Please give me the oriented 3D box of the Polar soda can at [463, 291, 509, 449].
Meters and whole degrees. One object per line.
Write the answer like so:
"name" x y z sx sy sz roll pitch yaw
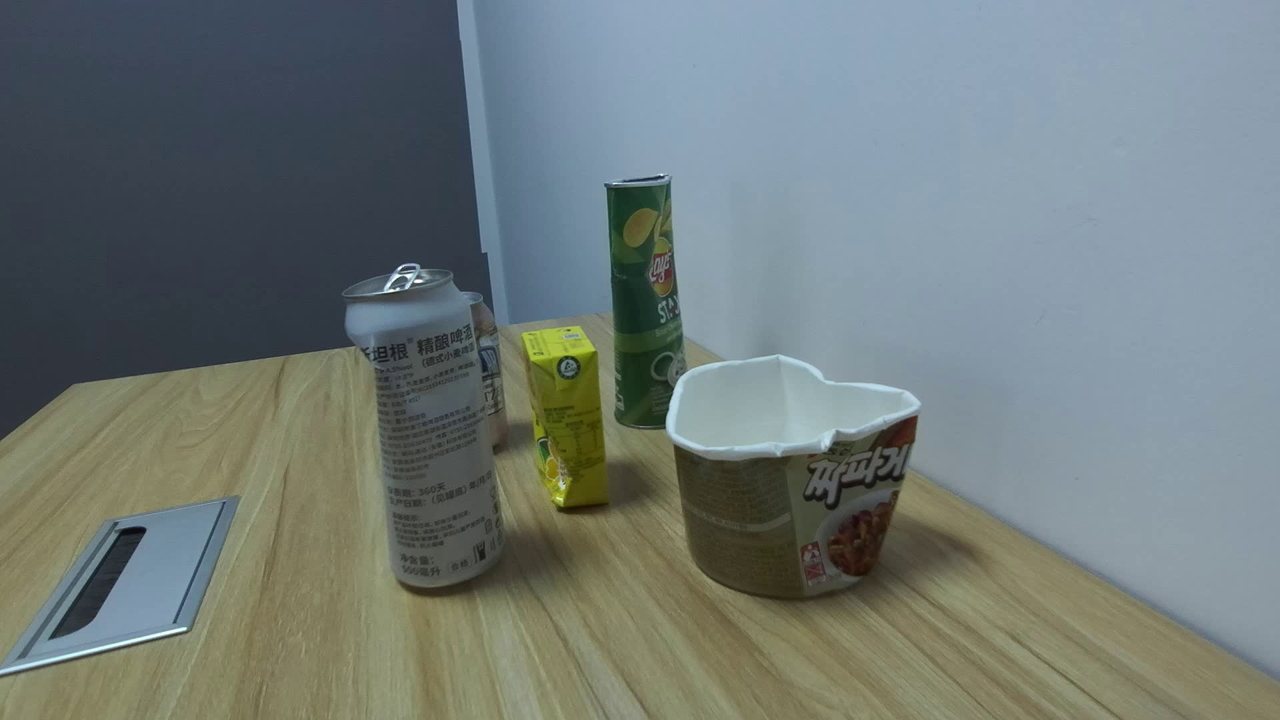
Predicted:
"Polar soda can" -0.147 0.011 0.564 0.074 0.122 0.067 -7 17 -14

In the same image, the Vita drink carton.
"Vita drink carton" -0.049 0.039 0.472 0.043 0.109 0.076 -9 19 -11

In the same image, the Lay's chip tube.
"Lay's chip tube" 0.006 -0.047 0.585 0.069 0.199 0.074 -8 17 -13

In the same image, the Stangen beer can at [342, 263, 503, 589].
"Stangen beer can" -0.118 0.038 0.386 0.069 0.173 0.070 5 19 31

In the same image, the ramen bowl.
"ramen bowl" 0.072 0.063 0.391 0.134 0.097 0.113 -14 22 -34
